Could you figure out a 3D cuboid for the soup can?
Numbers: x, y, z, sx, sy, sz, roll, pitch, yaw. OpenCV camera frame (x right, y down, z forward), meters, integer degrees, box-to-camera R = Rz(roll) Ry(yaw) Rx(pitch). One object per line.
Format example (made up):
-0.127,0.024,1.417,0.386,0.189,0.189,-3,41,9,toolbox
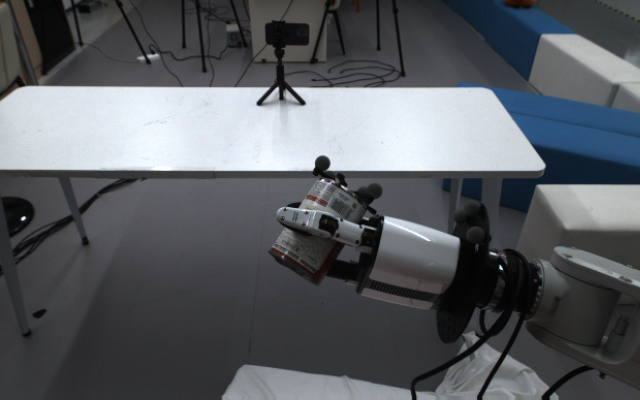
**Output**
-0.001,0.033,0.540,0.067,0.067,0.101,27,76,31,soup can
